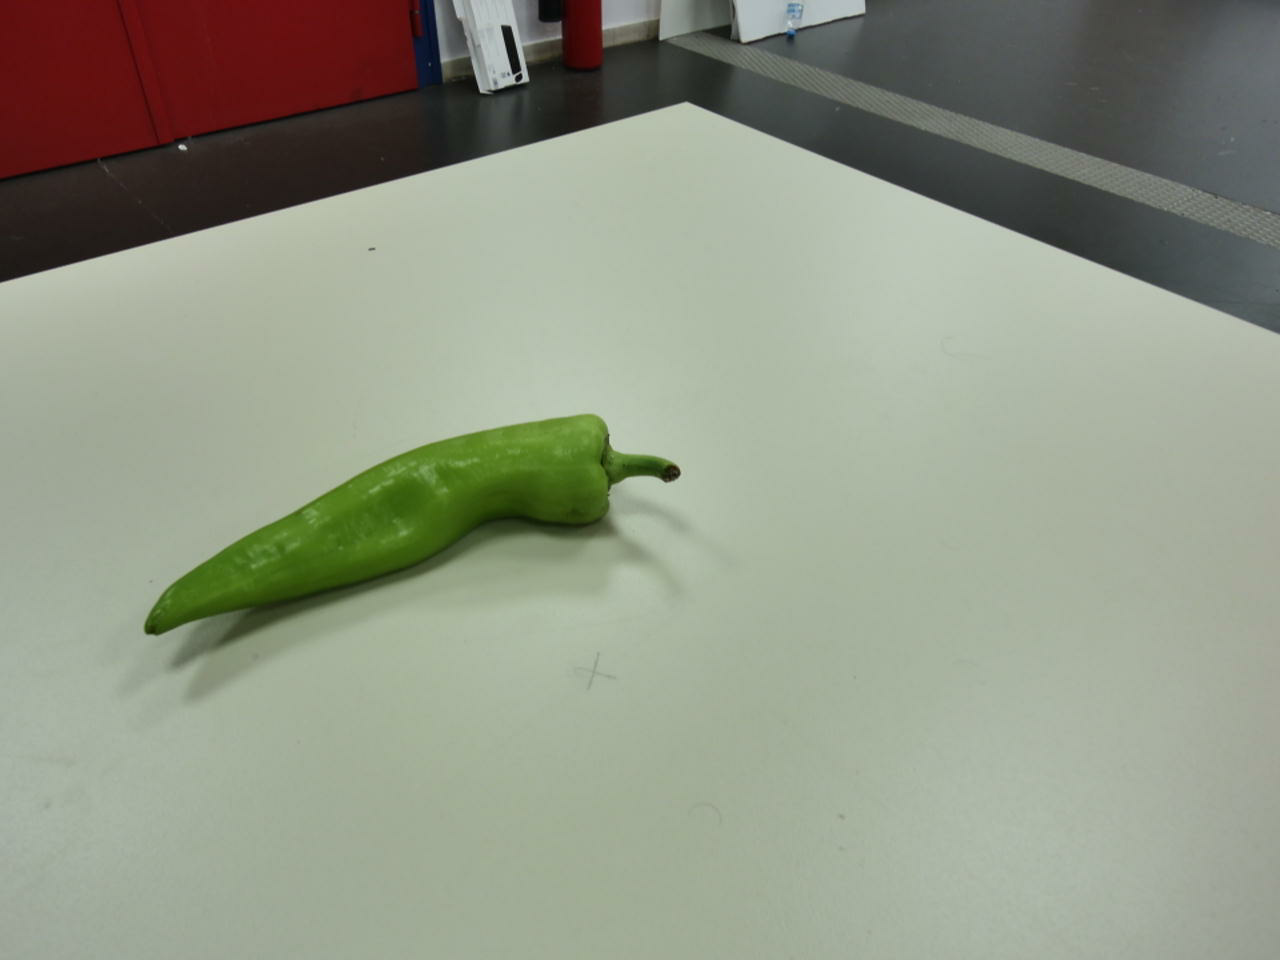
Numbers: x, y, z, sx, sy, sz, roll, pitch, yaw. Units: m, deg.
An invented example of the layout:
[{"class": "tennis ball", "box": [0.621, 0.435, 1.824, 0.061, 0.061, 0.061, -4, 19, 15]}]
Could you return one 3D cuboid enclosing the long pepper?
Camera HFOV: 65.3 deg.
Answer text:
[{"class": "long pepper", "box": [-0.088, 0.012, 0.399, 0.204, 0.045, 0.065, -14, 39, -19]}]
